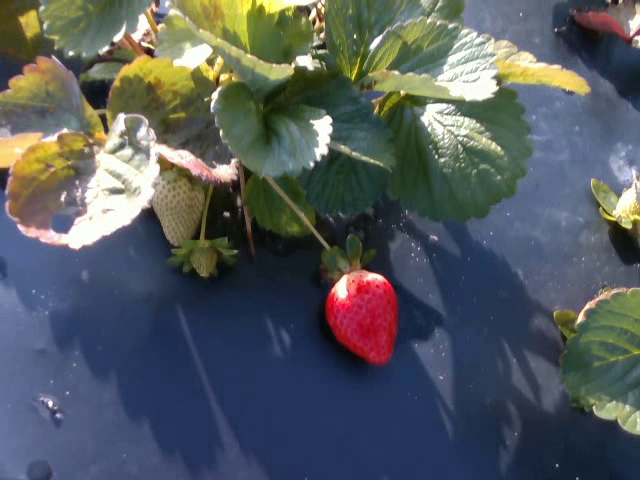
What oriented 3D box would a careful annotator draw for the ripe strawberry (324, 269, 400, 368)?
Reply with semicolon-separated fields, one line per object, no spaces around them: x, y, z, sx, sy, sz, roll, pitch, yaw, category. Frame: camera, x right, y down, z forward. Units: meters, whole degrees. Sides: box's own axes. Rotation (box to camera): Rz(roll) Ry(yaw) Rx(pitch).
0.020;0.031;0.237;0.030;0.045;0.033;-23;-26;20;ripe strawberry
